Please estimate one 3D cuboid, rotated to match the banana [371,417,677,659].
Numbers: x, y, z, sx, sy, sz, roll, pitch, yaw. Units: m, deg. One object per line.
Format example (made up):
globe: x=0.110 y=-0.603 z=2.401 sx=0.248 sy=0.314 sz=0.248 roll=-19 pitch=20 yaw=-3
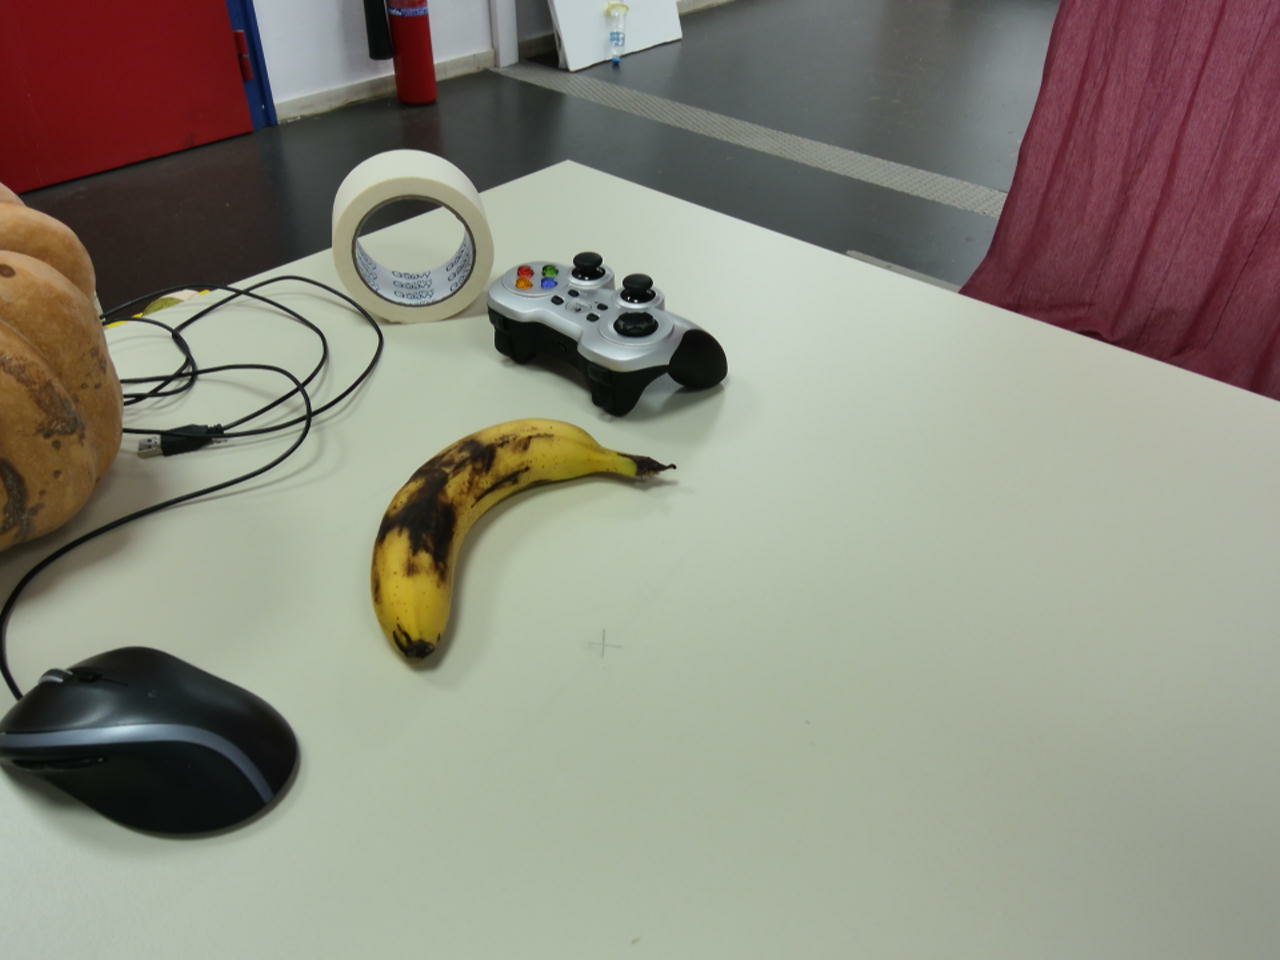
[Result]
banana: x=-0.076 y=0.013 z=0.513 sx=0.094 sy=0.039 sz=0.187 roll=26 pitch=43 yaw=29
